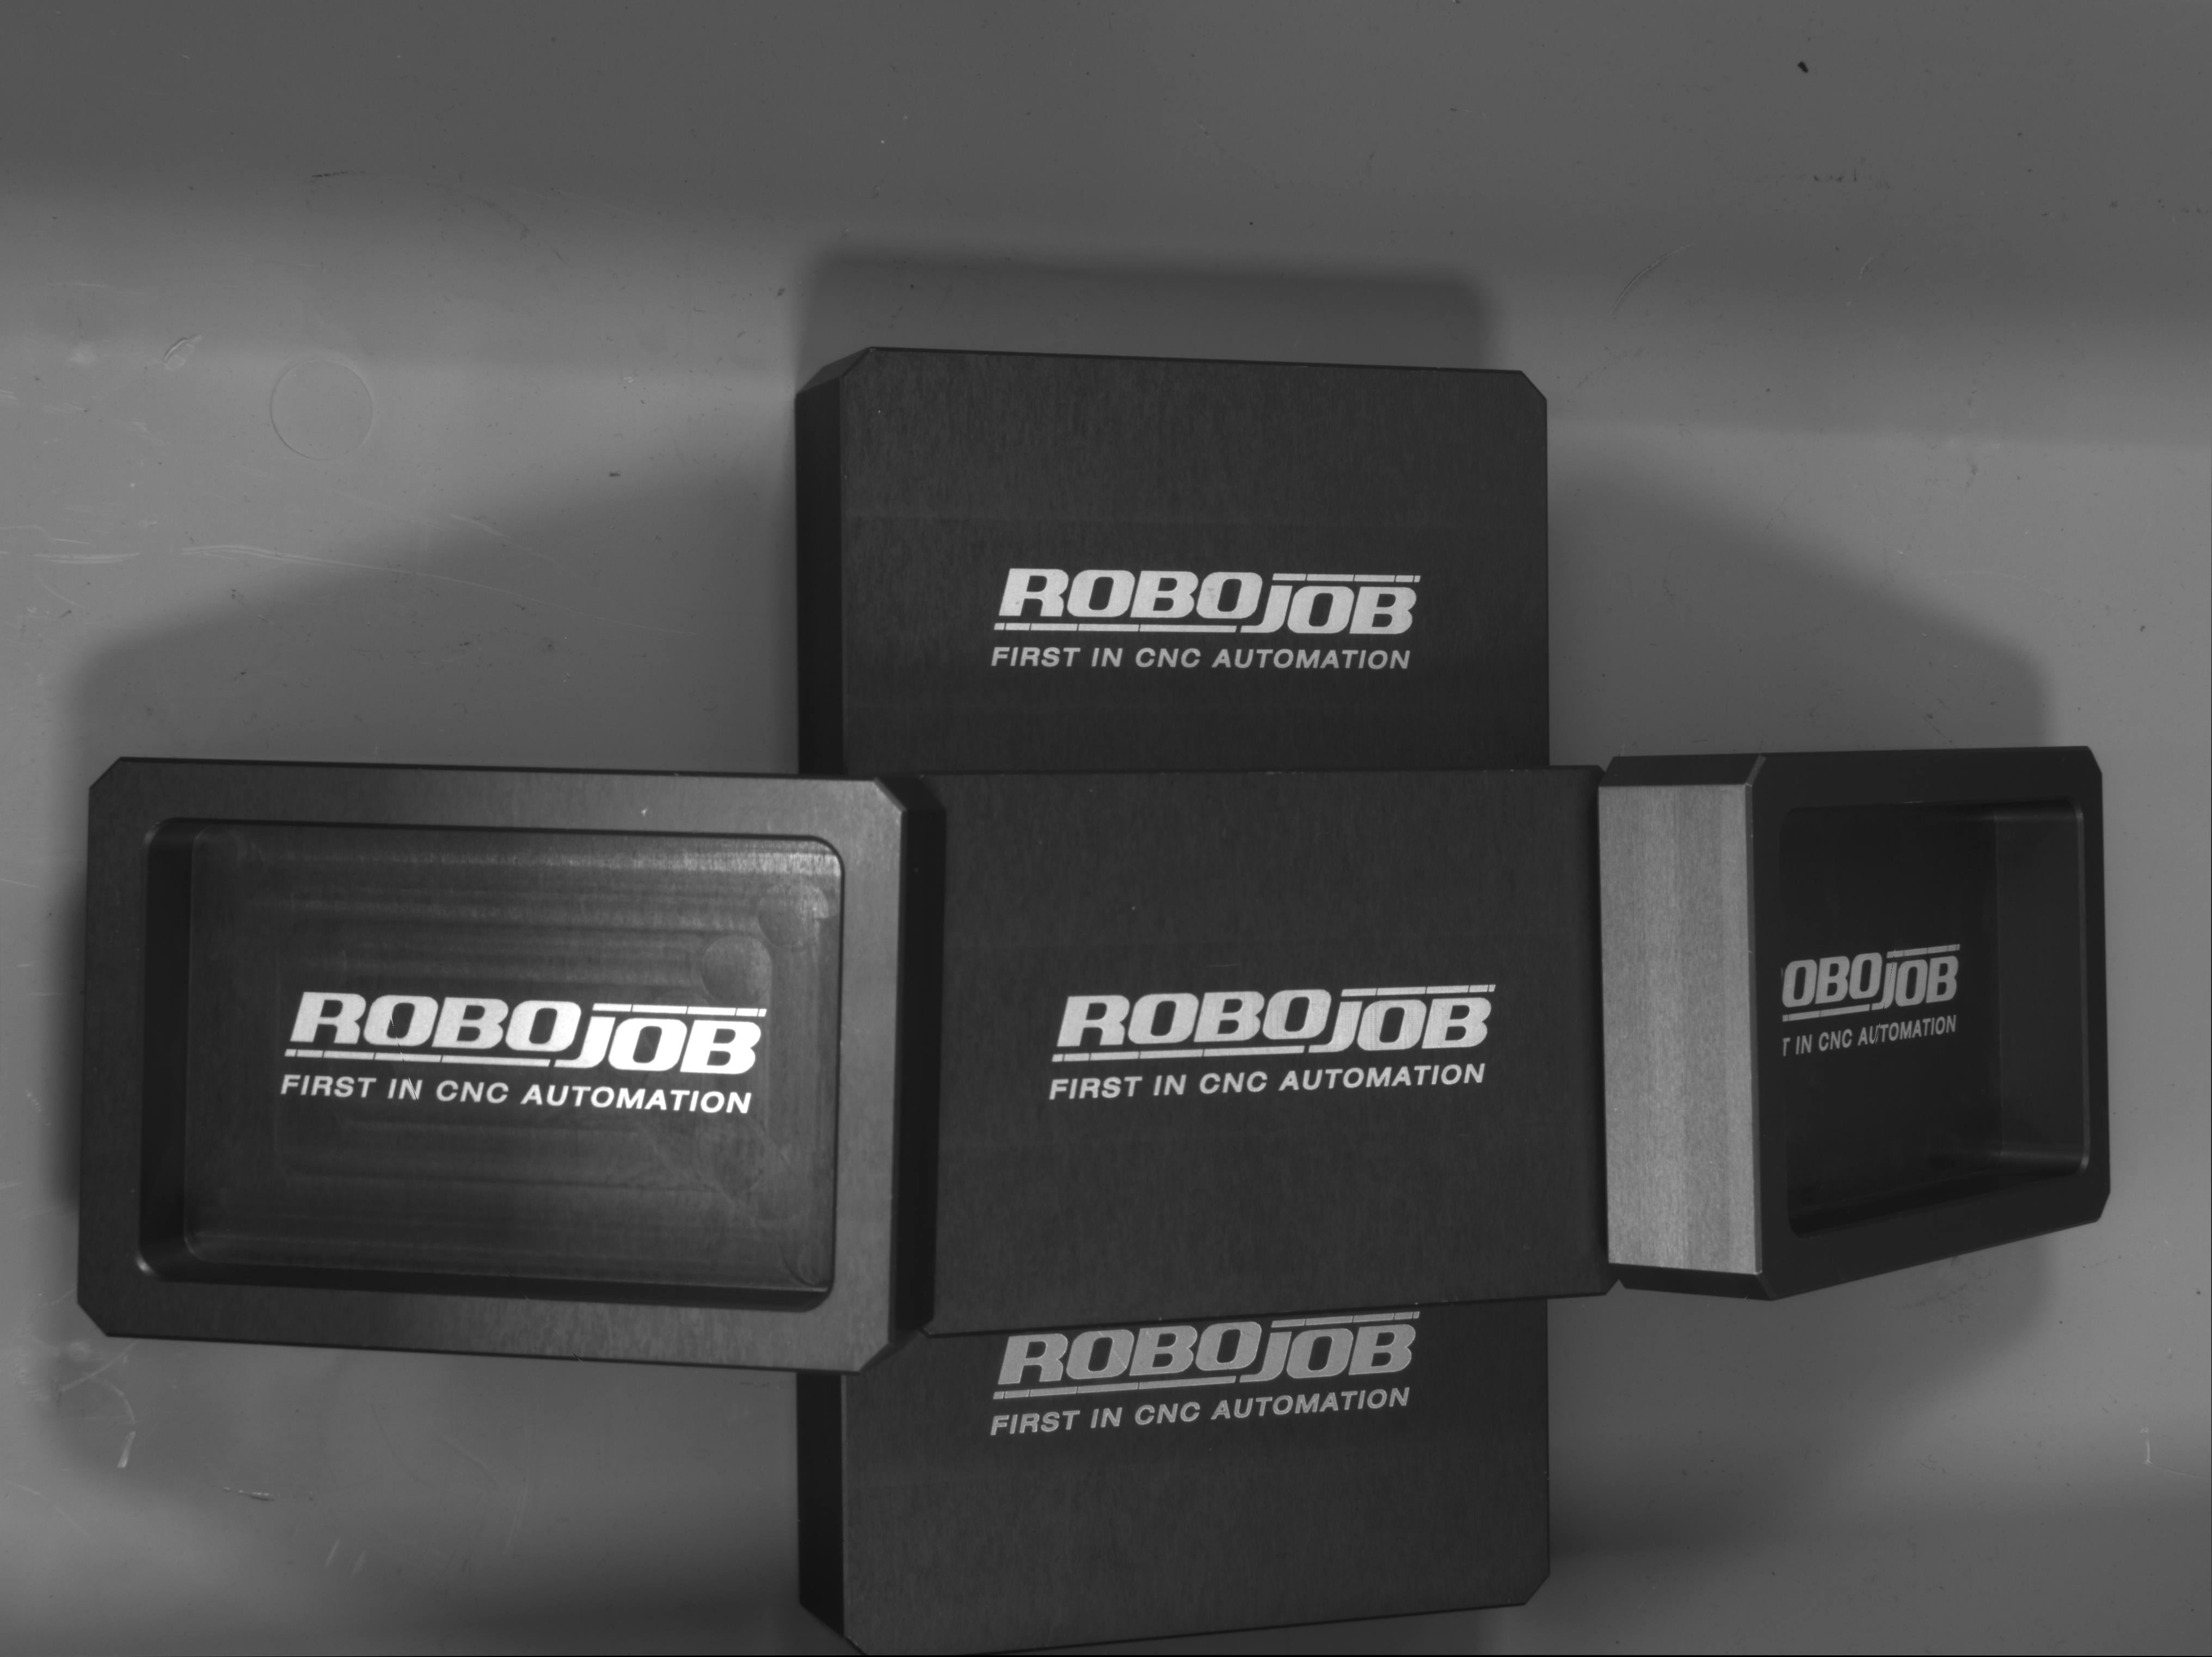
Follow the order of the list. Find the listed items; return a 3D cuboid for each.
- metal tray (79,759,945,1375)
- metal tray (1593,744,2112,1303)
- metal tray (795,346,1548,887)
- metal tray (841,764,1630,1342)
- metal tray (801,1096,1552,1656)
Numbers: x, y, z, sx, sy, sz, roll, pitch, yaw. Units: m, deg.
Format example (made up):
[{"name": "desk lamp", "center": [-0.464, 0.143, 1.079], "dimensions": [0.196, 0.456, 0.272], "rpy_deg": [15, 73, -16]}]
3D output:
[{"name": "metal tray", "center": [-0.093, 0.036, 0.573], "dimensions": [0.130, 0.030, 0.090], "rpy_deg": [1, 91, 9]}, {"name": "metal tray", "center": [0.136, 0.031, 0.655], "dimensions": [0.131, 0.030, 0.090], "rpy_deg": [-3, 92, -49]}, {"name": "metal tray", "center": [0.013, -0.035, 0.642], "dimensions": [0.130, 0.030, 0.090], "rpy_deg": [0, 90, -20]}, {"name": "metal tray", "center": [0.023, 0.035, 0.615], "dimensions": [0.130, 0.030, 0.090], "rpy_deg": [-1, 90, -20]}, {"name": "metal tray", "center": [0.013, 0.094, 0.642], "dimensions": [0.130, 0.030, 0.090], "rpy_deg": [0, 90, -20]}]
